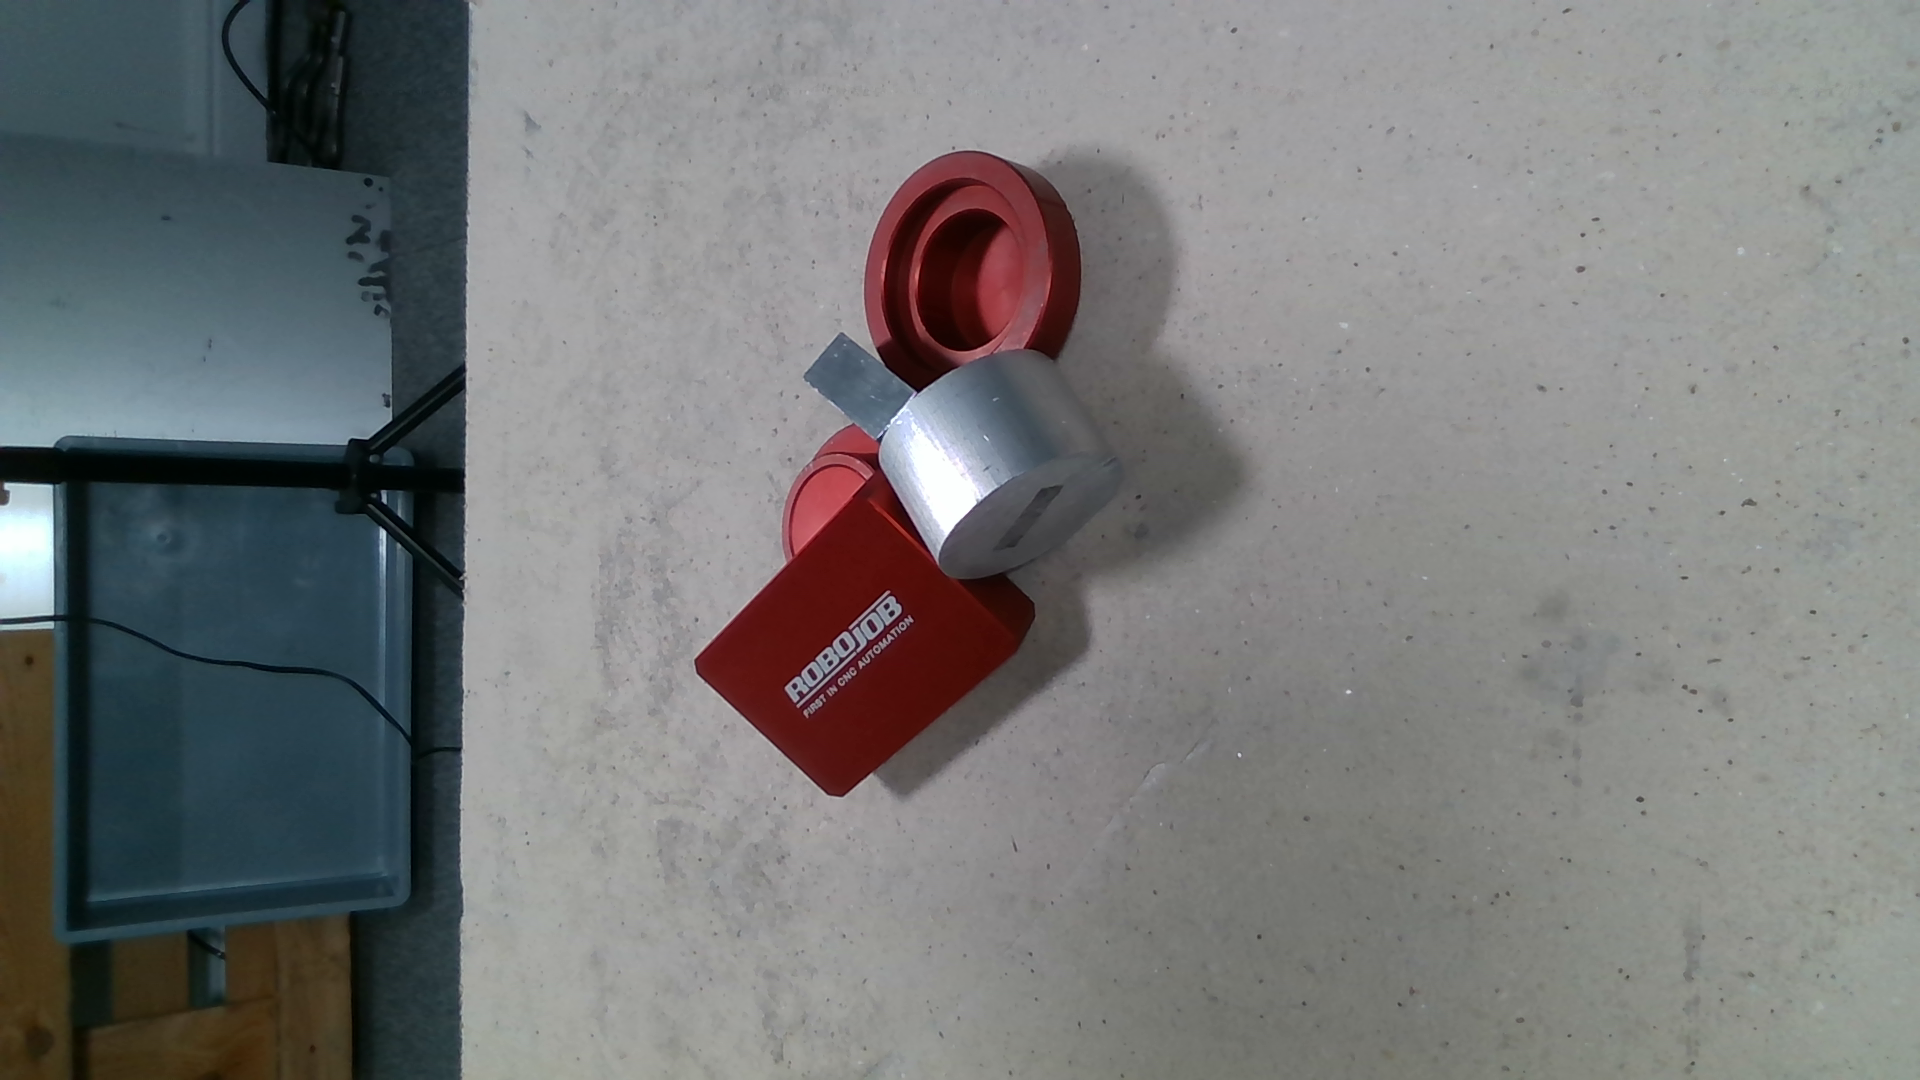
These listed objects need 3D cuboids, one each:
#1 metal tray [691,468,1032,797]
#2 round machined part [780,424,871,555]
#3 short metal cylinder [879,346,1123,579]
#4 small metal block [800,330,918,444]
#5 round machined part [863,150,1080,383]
[{"bbox_3d":[-0.044,0.042,0.587,0.090,0.030,0.130,44,122,-5],"label":"metal tray"},{"bbox_3d":[-0.041,-0.005,0.605,0.098,0.042,0.098,0,91,40],"label":"round machined part"},{"bbox_3d":[0.016,-0.029,0.533,0.080,0.080,0.050,-45,63,31],"label":"short metal cylinder"},{"bbox_3d":[-0.031,-0.054,0.568,0.025,0.050,0.050,-50,58,0],"label":"small metal block"},{"bbox_3d":[0.010,-0.105,0.562,0.098,0.042,0.098,0,91,40],"label":"round machined part"}]
